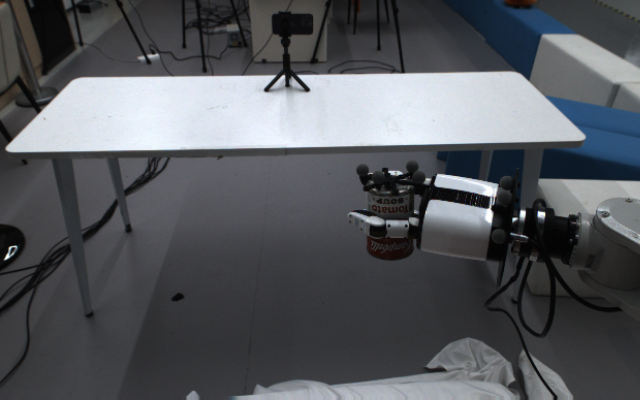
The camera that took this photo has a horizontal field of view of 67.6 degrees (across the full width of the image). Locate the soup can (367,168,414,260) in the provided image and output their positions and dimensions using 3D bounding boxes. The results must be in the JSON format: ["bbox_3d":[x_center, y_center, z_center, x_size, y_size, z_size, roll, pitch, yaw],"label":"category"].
[{"bbox_3d":[0.099,0.023,0.676,0.067,0.101,0.067,-3,26,2],"label":"soup can"}]
